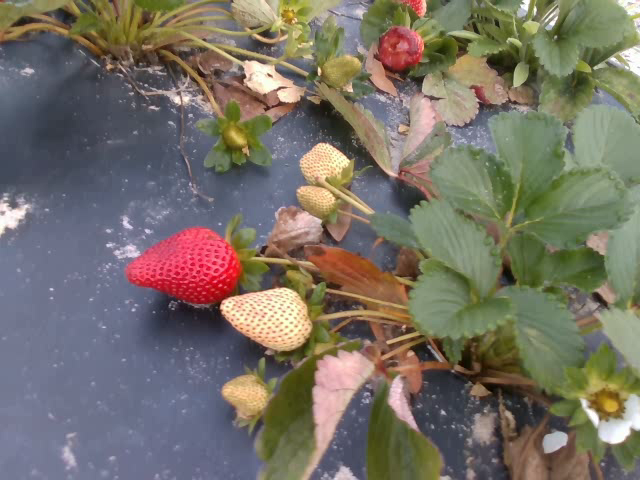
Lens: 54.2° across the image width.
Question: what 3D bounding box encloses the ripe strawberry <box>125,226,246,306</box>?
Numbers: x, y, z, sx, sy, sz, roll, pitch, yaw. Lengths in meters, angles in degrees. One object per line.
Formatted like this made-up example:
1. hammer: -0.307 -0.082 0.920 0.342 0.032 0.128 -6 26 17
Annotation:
1. ripe strawberry: -0.064 0.012 0.290 0.059 0.034 0.050 -14 53 -43
